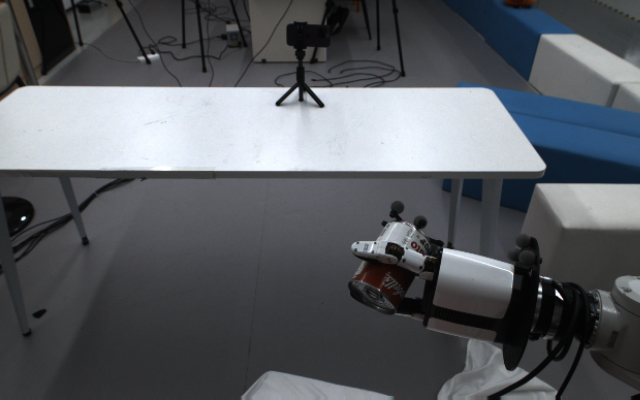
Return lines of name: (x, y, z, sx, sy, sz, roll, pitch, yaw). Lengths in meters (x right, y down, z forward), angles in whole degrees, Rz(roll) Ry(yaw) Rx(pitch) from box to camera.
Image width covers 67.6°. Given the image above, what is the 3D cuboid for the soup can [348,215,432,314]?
soup can: (0.091, 0.083, 0.611, 0.067, 0.067, 0.101, 22, 60, 27)
